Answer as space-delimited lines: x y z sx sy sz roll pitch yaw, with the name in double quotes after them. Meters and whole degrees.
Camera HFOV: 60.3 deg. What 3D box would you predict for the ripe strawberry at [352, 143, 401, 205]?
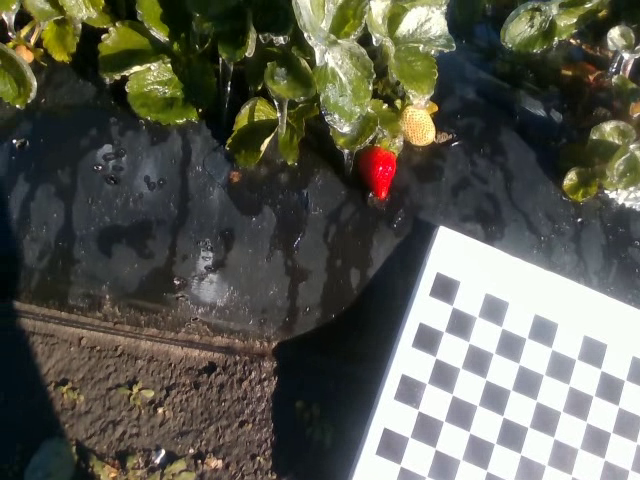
0.059 -0.062 0.507 0.041 0.052 0.040 5 -18 -5 "ripe strawberry"
